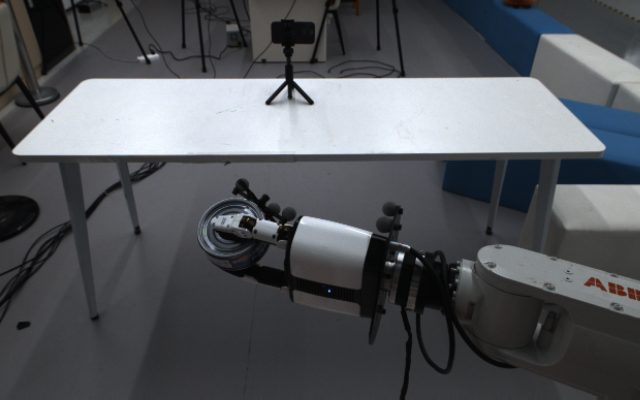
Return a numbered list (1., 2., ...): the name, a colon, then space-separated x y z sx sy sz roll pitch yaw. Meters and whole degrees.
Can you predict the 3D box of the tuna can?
1. tuna can: -0.102 0.040 0.590 0.085 0.034 0.085 -4 57 6
